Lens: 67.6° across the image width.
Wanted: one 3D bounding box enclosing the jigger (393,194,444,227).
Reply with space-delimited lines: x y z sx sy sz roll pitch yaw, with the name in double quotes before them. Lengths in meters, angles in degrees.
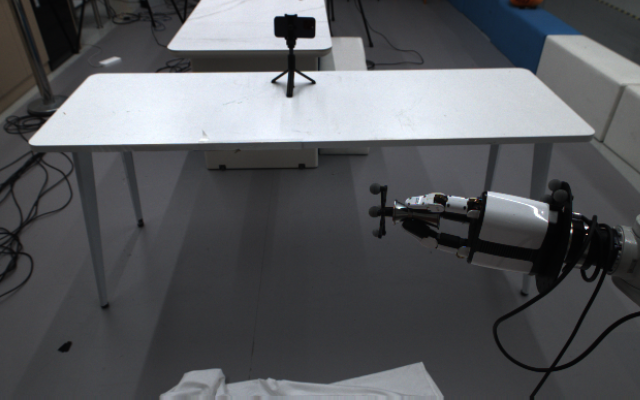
"jigger" 0.153 0.016 0.731 0.071 0.043 0.043 2 34 14
